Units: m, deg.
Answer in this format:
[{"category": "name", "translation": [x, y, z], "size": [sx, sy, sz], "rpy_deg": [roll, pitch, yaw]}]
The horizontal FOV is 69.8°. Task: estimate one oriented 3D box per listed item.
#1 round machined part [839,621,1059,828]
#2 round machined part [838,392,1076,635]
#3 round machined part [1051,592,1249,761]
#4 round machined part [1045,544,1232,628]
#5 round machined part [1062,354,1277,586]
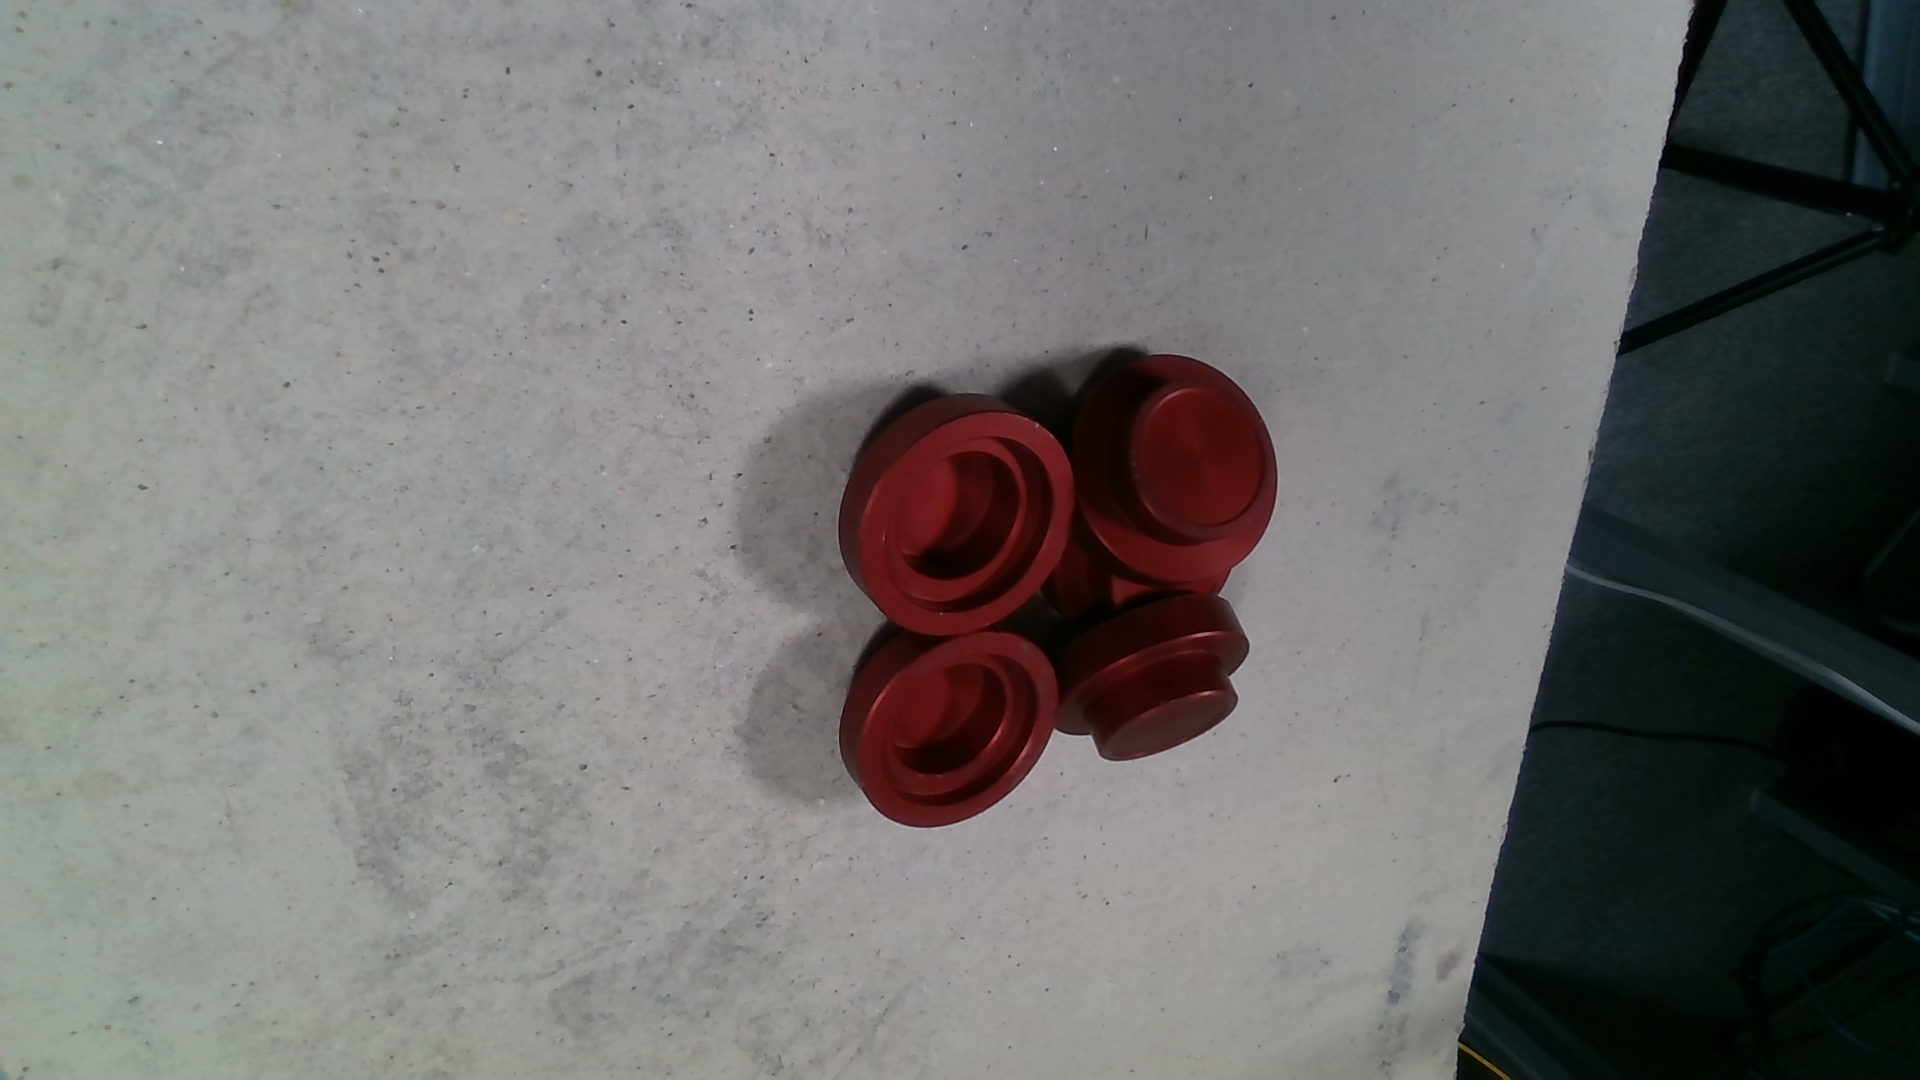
[{"category": "round machined part", "translation": [-0.009, 0.074, 0.604], "size": [0.098, 0.042, 0.098], "rpy_deg": [-14, 122, -25]}, {"category": "round machined part", "translation": [-0.005, -0.014, 0.559], "size": [0.098, 0.042, 0.098], "rpy_deg": [-14, 122, -25]}, {"category": "round machined part", "translation": [0.088, 0.067, 0.632], "size": [0.098, 0.042, 0.098], "rpy_deg": [-17, 153, -9]}, {"category": "round machined part", "translation": [0.086, 0.003, 0.624], "size": [0.098, 0.042, 0.098], "rpy_deg": [-14, 122, -25]}, {"category": "round machined part", "translation": [0.092, -0.031, 0.579], "size": [0.098, 0.042, 0.098], "rpy_deg": [3, 82, -20]}]
